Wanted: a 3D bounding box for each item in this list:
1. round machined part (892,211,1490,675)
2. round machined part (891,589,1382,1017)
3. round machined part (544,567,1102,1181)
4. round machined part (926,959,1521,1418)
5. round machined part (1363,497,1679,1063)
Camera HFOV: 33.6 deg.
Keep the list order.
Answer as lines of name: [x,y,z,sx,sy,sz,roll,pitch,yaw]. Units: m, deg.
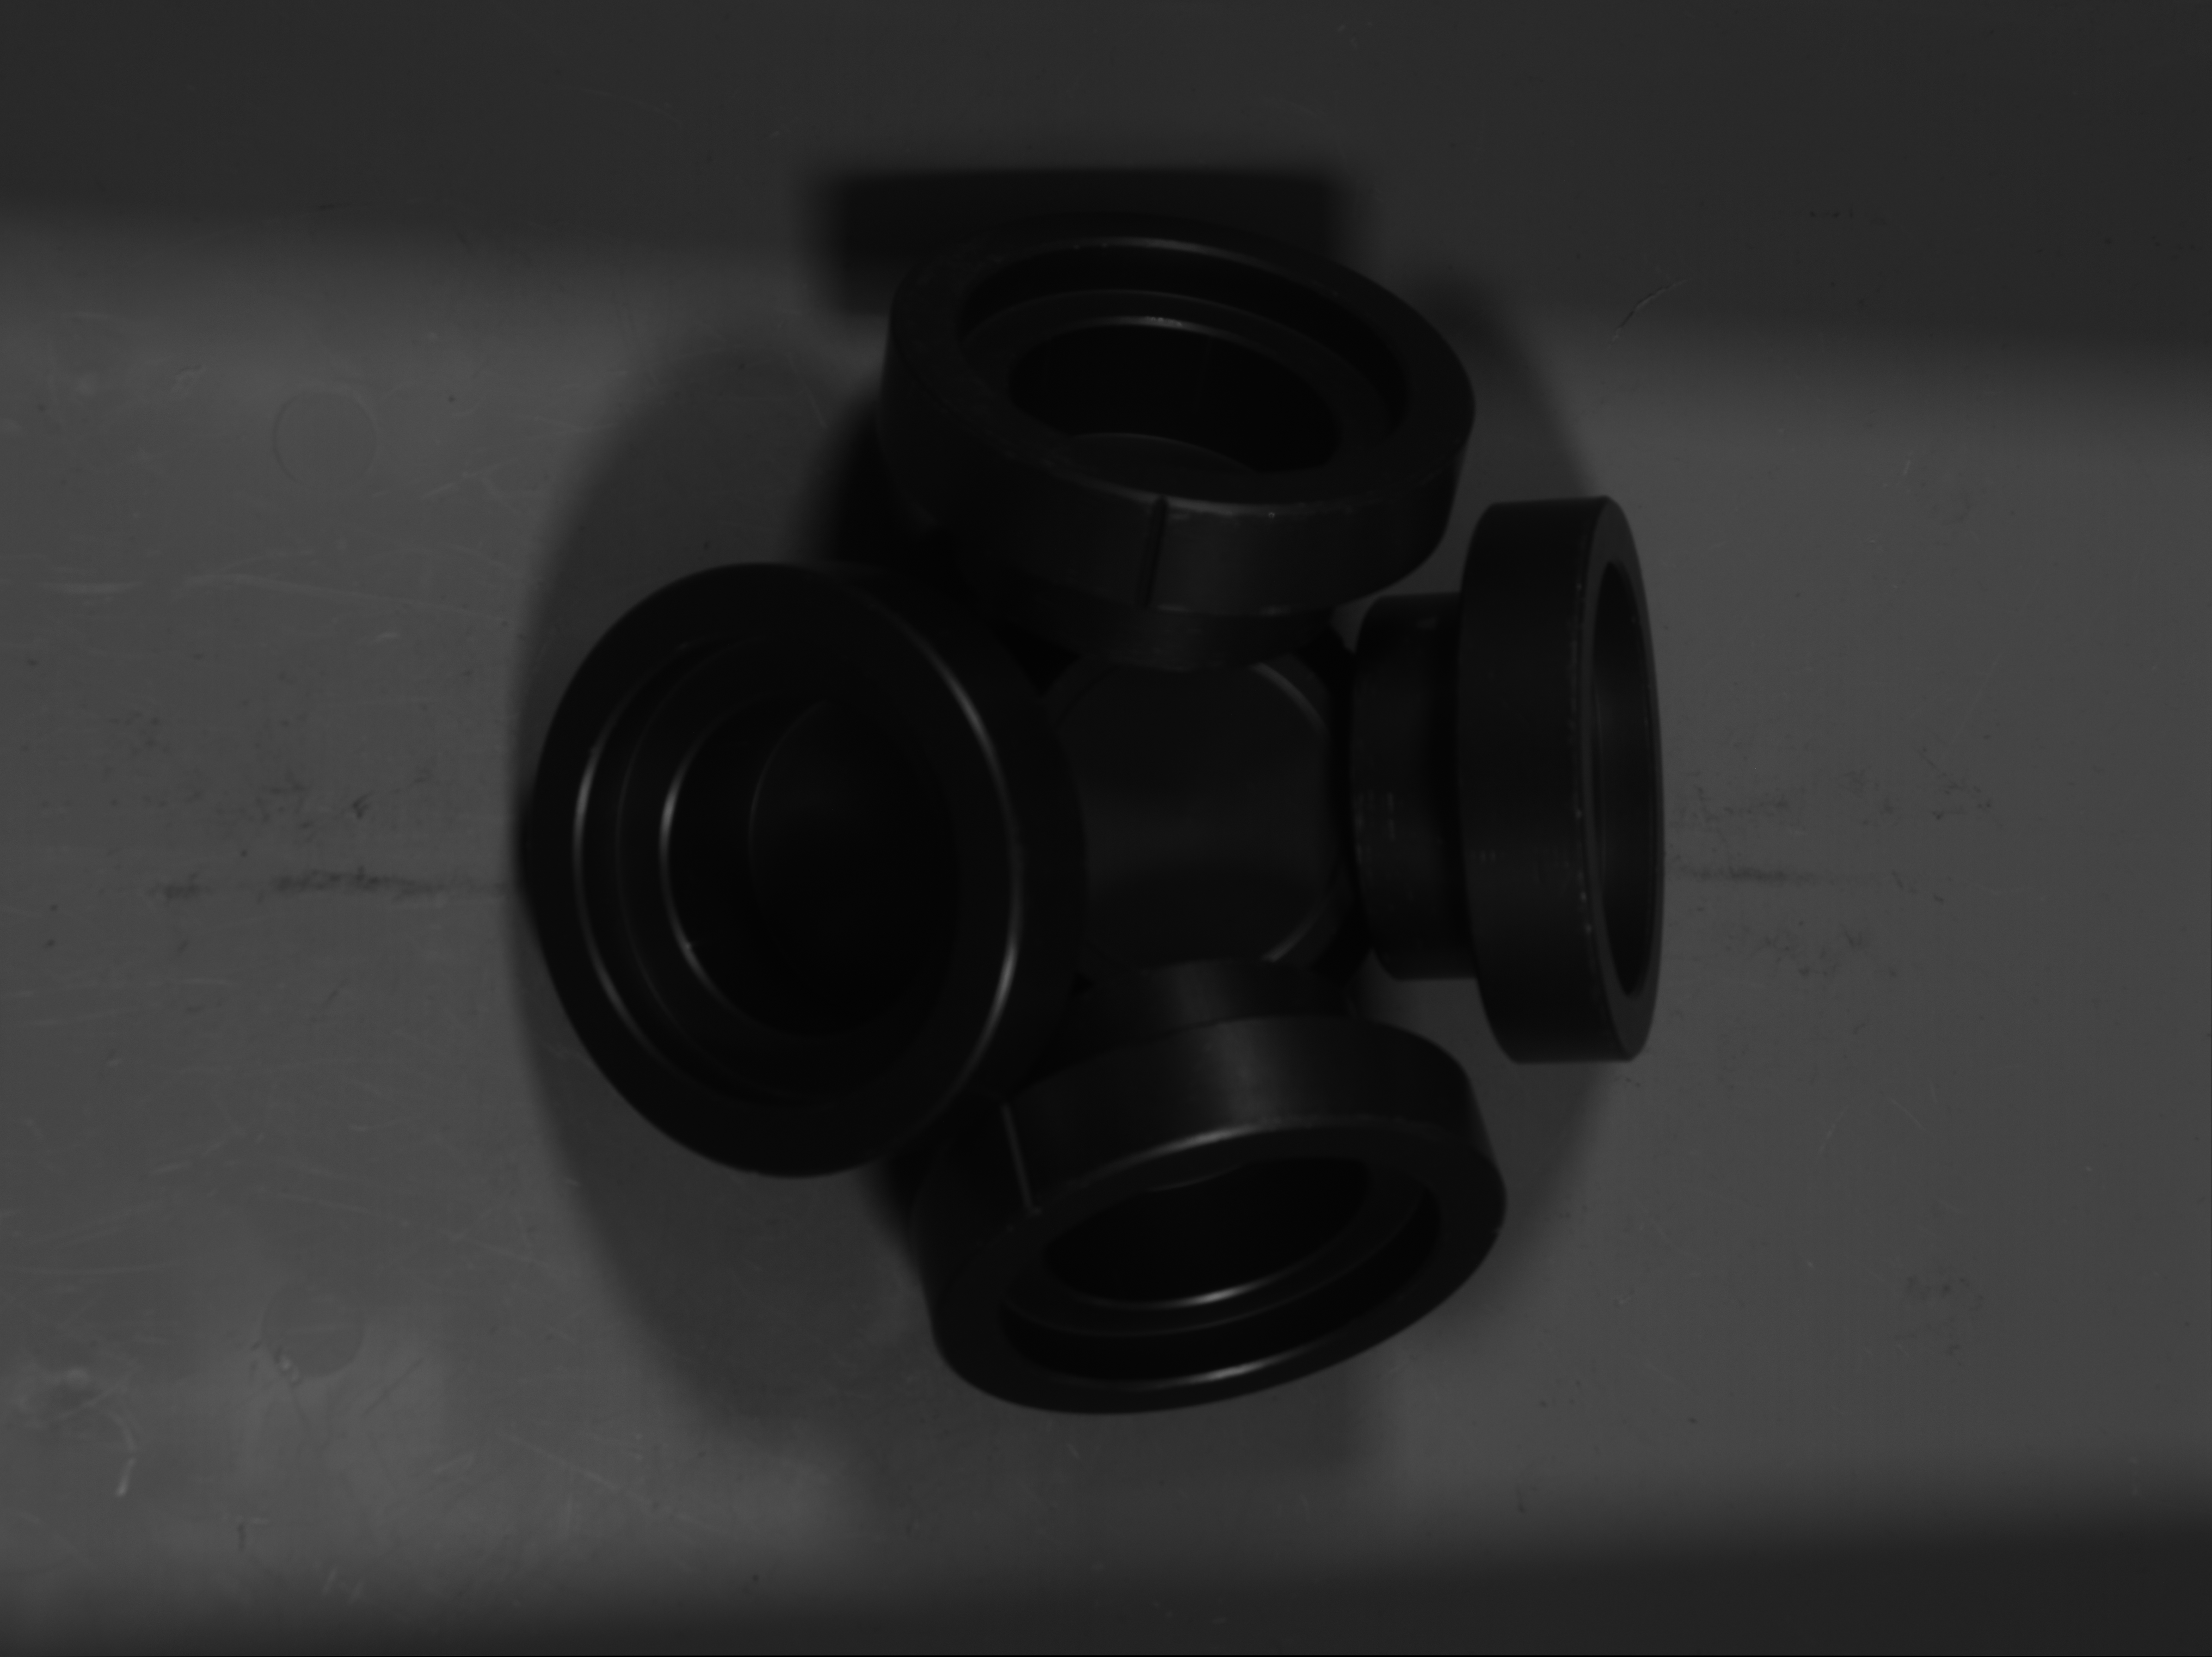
round machined part: [0.012,-0.062,0.618,0.098,0.098,0.042,-4,129,-20]
round machined part: [0.010,-0.002,0.636,0.098,0.042,0.098,0,90,-20]
round machined part: [-0.041,0.006,0.598,0.042,0.098,0.098,-9,94,-57]
round machined part: [0.017,0.058,0.619,0.098,0.098,0.042,-1,54,-20]
round machined part: [0.073,-0.008,0.641,0.042,0.098,0.098,-2,91,16]
